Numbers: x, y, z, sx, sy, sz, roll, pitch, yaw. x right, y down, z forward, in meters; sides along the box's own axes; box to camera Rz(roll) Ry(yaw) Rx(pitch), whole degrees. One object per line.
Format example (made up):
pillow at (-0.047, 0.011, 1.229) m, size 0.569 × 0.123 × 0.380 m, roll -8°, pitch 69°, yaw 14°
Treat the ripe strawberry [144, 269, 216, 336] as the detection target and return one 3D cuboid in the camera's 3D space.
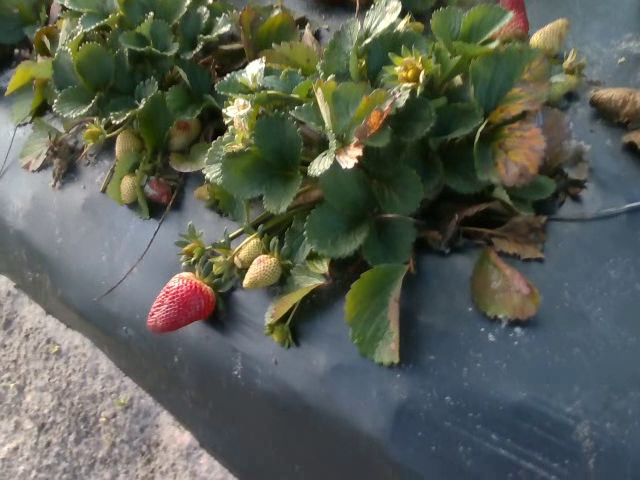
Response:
ripe strawberry at (-0.133, 0.063, 0.602) m, size 0.052 × 0.068 × 0.045 m, roll 29°, pitch -24°, yaw 30°
